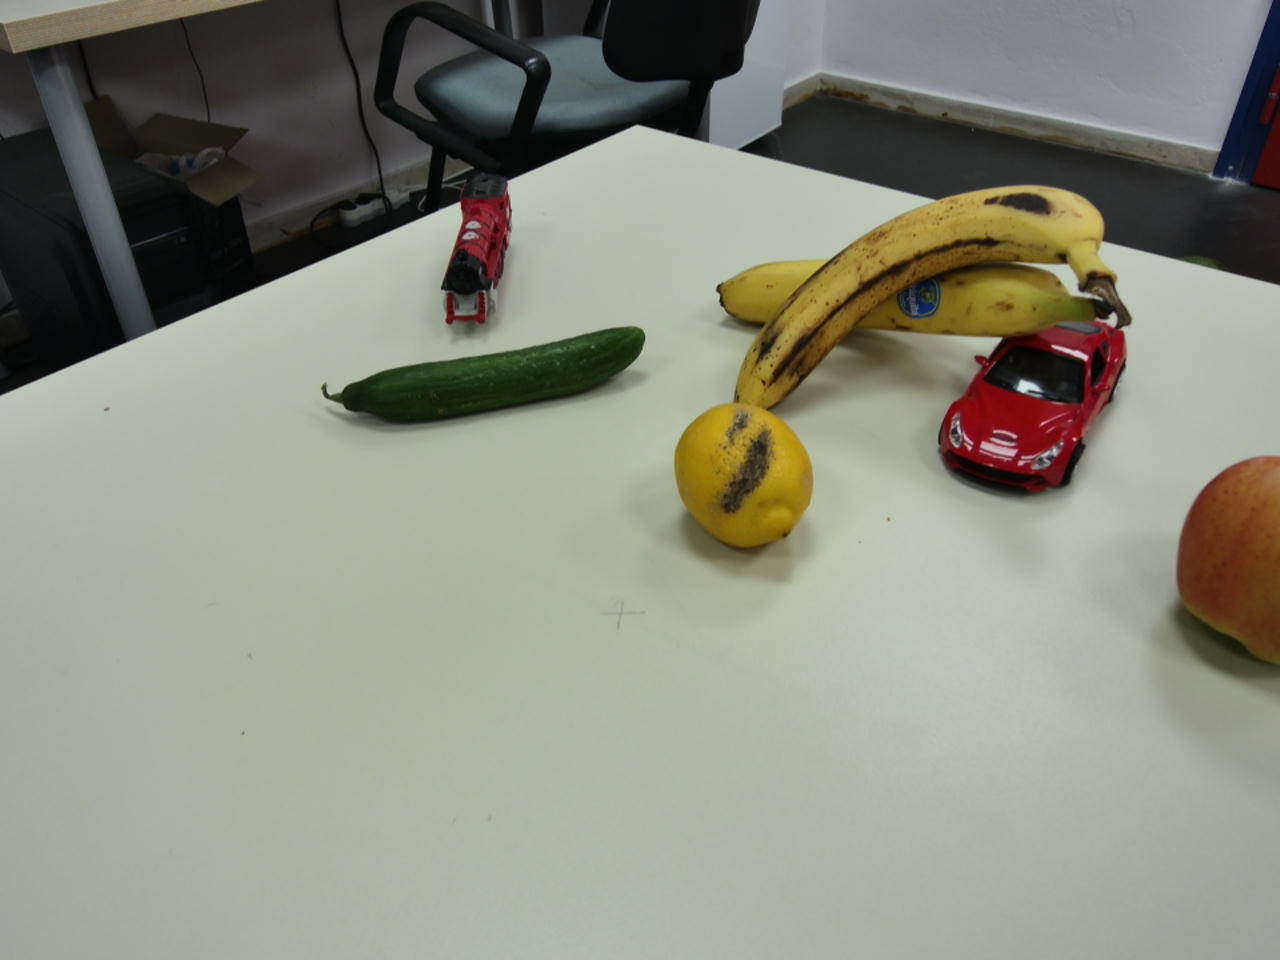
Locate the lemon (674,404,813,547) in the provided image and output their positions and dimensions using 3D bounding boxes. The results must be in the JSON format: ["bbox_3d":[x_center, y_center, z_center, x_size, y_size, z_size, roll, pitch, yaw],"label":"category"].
[{"bbox_3d":[0.044,-0.002,0.424,0.061,0.056,0.058,20,41,26],"label":"lemon"}]
